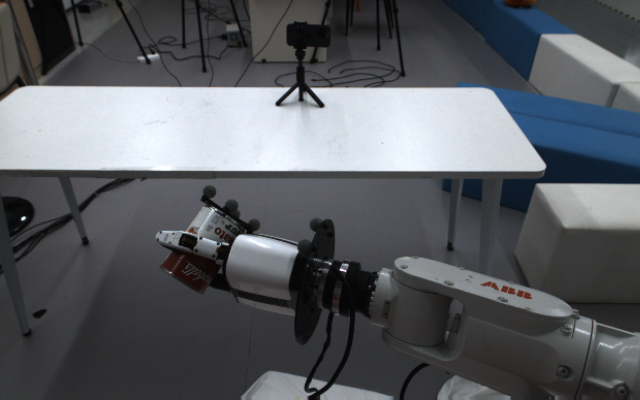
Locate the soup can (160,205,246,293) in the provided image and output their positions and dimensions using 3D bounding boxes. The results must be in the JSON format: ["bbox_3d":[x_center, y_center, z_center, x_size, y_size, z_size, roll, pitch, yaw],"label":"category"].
[{"bbox_3d":[-0.155,0.066,0.642,0.067,0.067,0.101,25,73,29],"label":"soup can"}]
